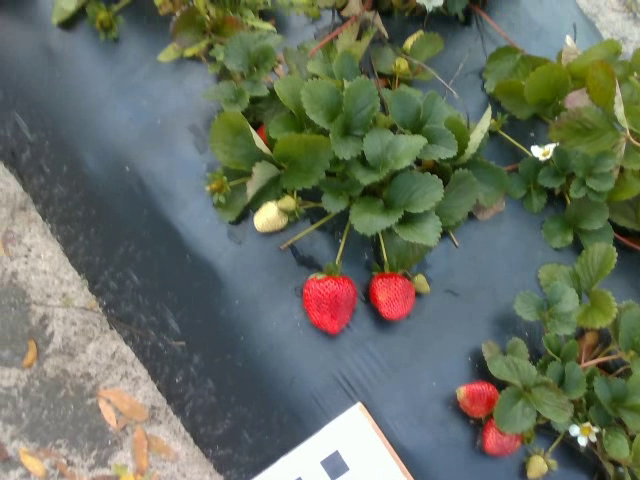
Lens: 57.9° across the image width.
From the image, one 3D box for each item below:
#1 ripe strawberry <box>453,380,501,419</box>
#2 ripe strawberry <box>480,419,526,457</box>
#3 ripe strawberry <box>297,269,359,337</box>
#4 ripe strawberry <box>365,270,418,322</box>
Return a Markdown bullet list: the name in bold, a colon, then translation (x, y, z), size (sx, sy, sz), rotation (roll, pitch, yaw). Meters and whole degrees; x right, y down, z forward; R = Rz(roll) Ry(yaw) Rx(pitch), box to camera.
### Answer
- **ripe strawberry**: translation (0.152, 0.156, 0.572), size (0.053, 0.047, 0.039), rotation (25, 15, -18)
- **ripe strawberry**: translation (0.171, 0.191, 0.554), size (0.049, 0.044, 0.041), rotation (-28, -17, -49)
- **ripe strawberry**: translation (0.008, 0.069, 0.585), size (0.058, 0.065, 0.043), rotation (-8, -19, 21)
- **ripe strawberry**: translation (0.074, 0.062, 0.593), size (0.050, 0.051, 0.060), rotation (-14, 38, 21)
